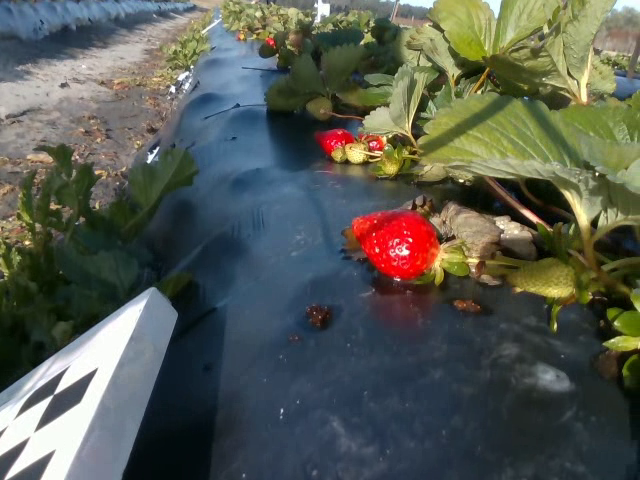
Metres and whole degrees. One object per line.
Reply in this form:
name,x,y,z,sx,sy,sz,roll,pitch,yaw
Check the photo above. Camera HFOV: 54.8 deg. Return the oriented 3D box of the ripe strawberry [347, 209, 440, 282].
ripe strawberry,0.027,-0.001,0.286,0.054,0.038,0.046,16,37,5
